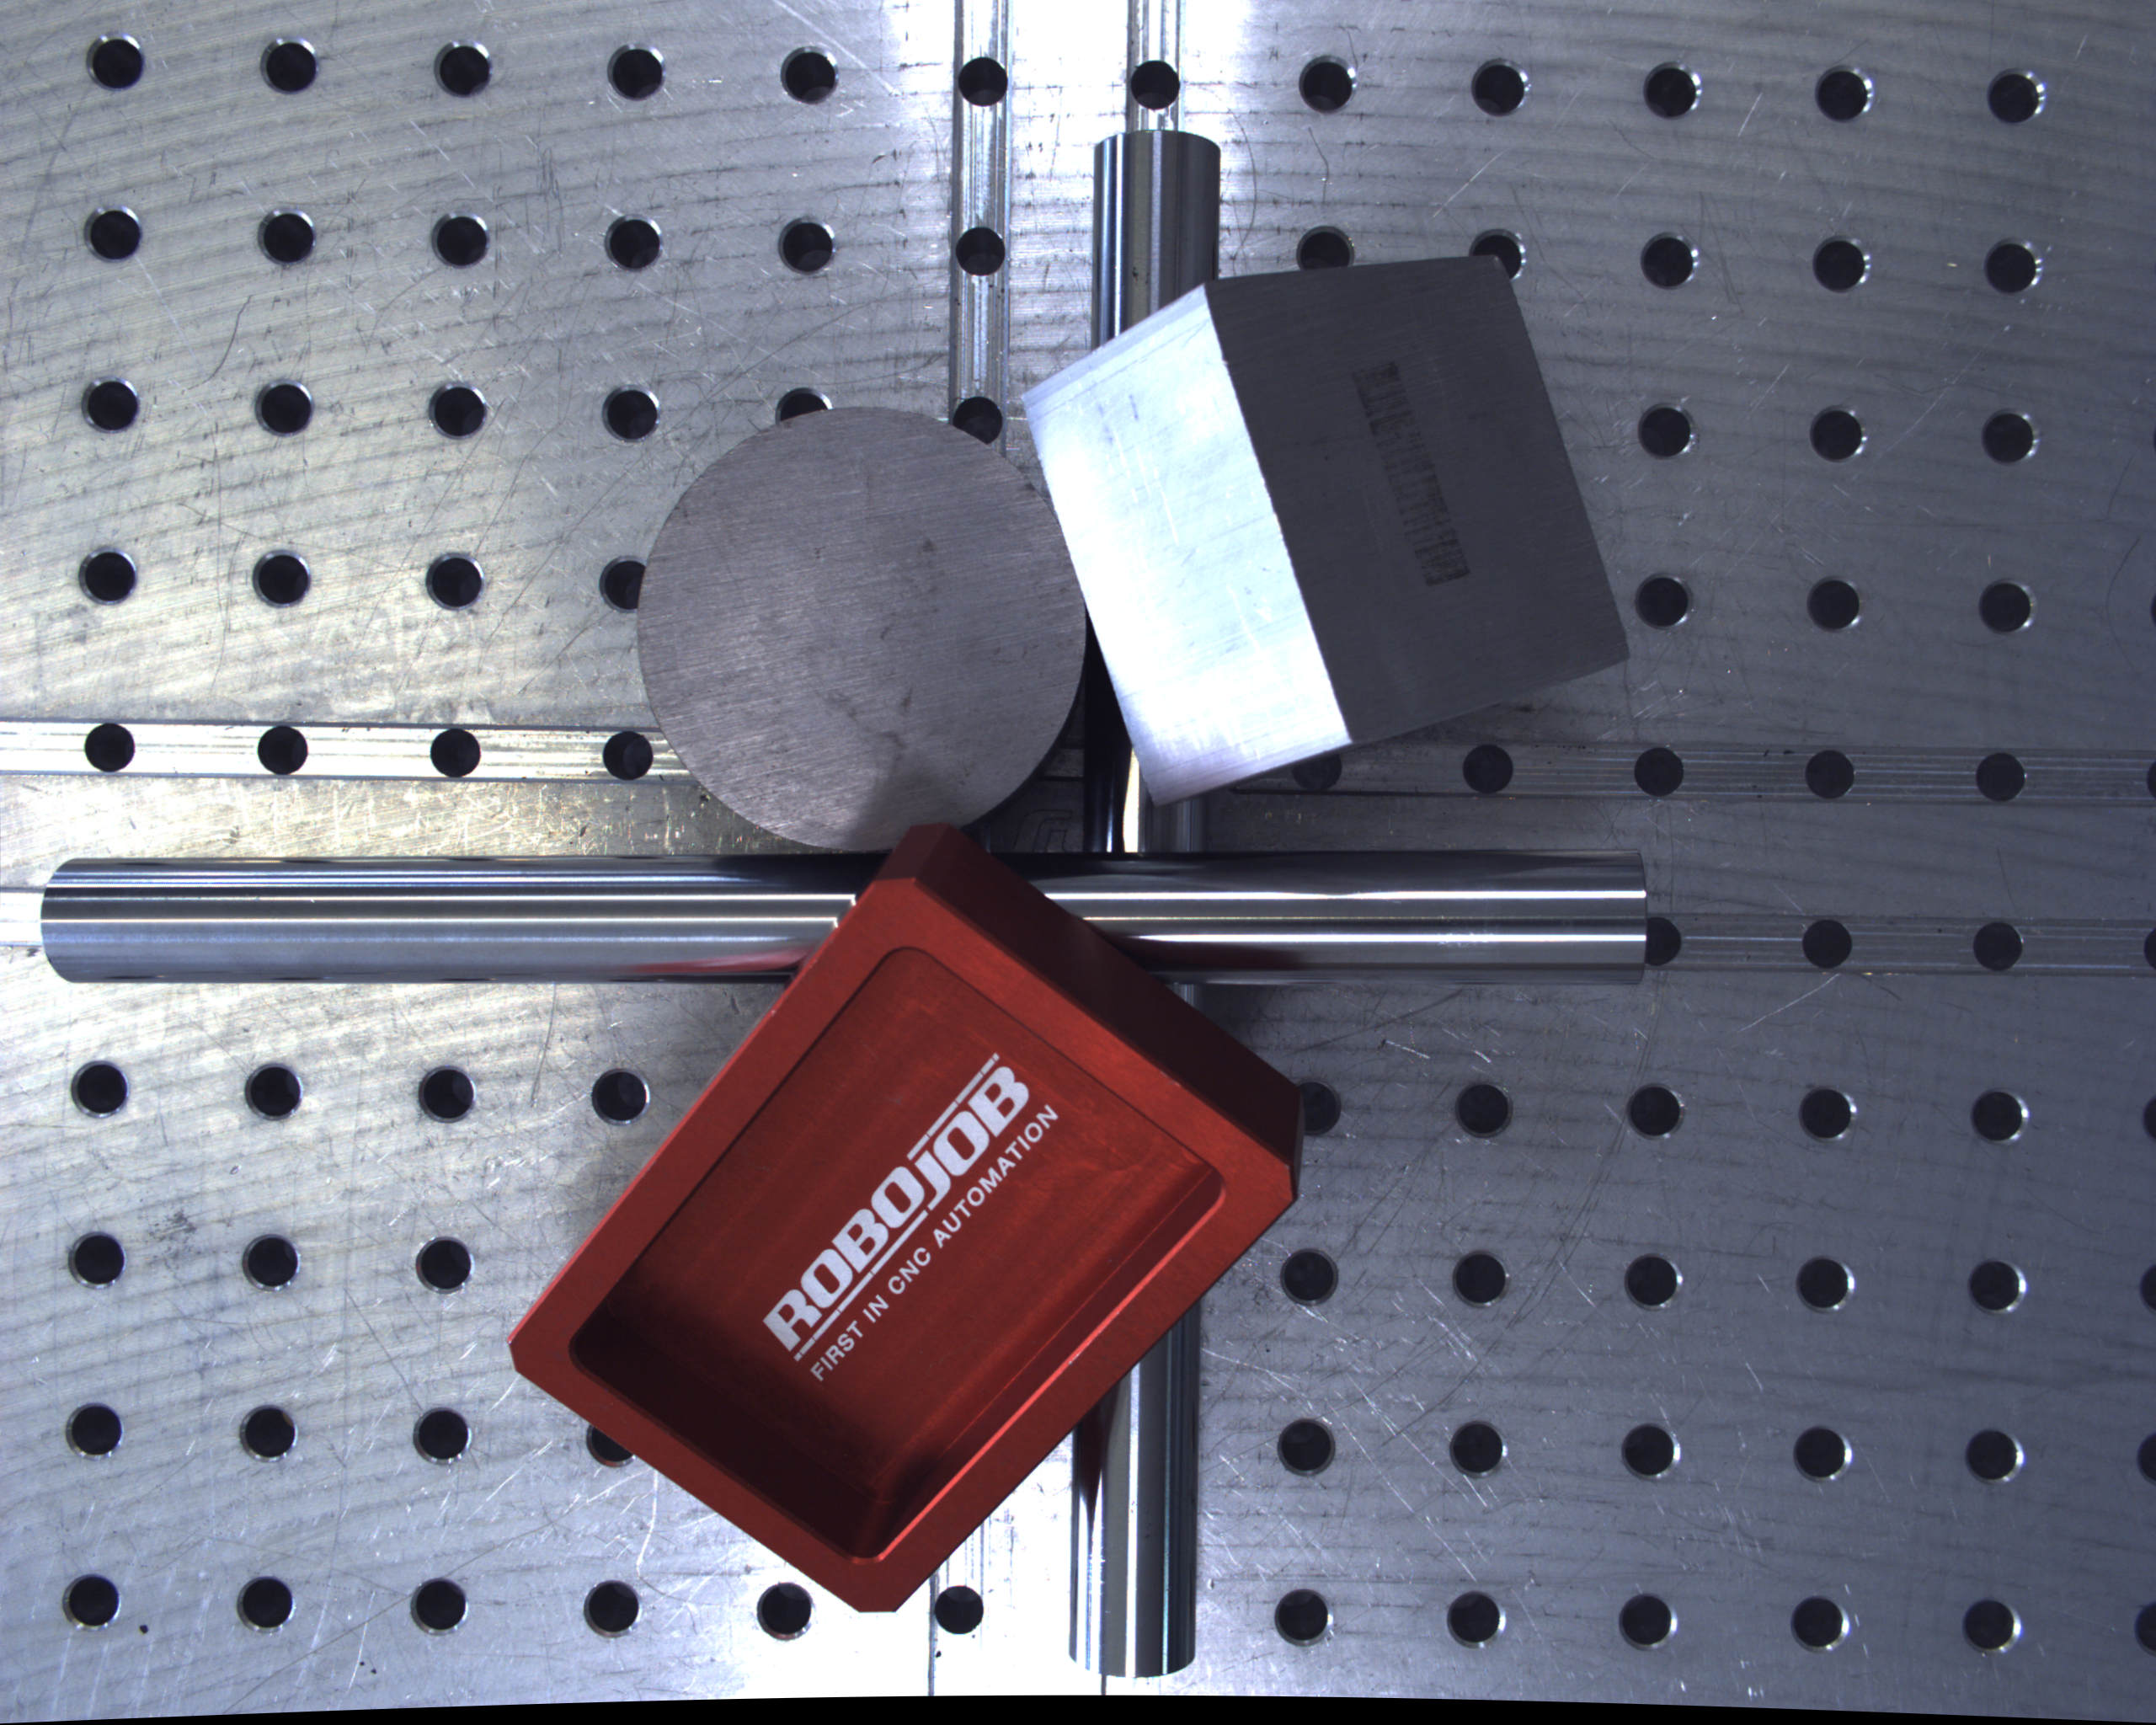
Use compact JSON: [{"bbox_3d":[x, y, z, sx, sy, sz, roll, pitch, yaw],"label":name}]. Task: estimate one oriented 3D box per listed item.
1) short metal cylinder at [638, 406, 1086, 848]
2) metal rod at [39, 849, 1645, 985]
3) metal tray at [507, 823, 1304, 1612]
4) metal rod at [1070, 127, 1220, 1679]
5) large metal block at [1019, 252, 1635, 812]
[{"bbox_3d":[-0.039,-0.043,0.400,0.081,0.050,0.079,0,90,0],"label":"short metal cylinder"},{"bbox_3d":[-0.049,0.011,0.396,0.302,0.025,0.025,0,90,7],"label":"metal rod"},{"bbox_3d":[-0.032,0.068,0.385,0.090,0.030,0.129,38,111,-6],"label":"metal tray"},{"bbox_3d":[0.013,0.008,0.413,0.025,0.025,0.298,1,90,0],"label":"metal rod"},{"bbox_3d":[0.047,-0.061,0.381,0.081,0.050,0.080,-18,90,-40],"label":"large metal block"}]
